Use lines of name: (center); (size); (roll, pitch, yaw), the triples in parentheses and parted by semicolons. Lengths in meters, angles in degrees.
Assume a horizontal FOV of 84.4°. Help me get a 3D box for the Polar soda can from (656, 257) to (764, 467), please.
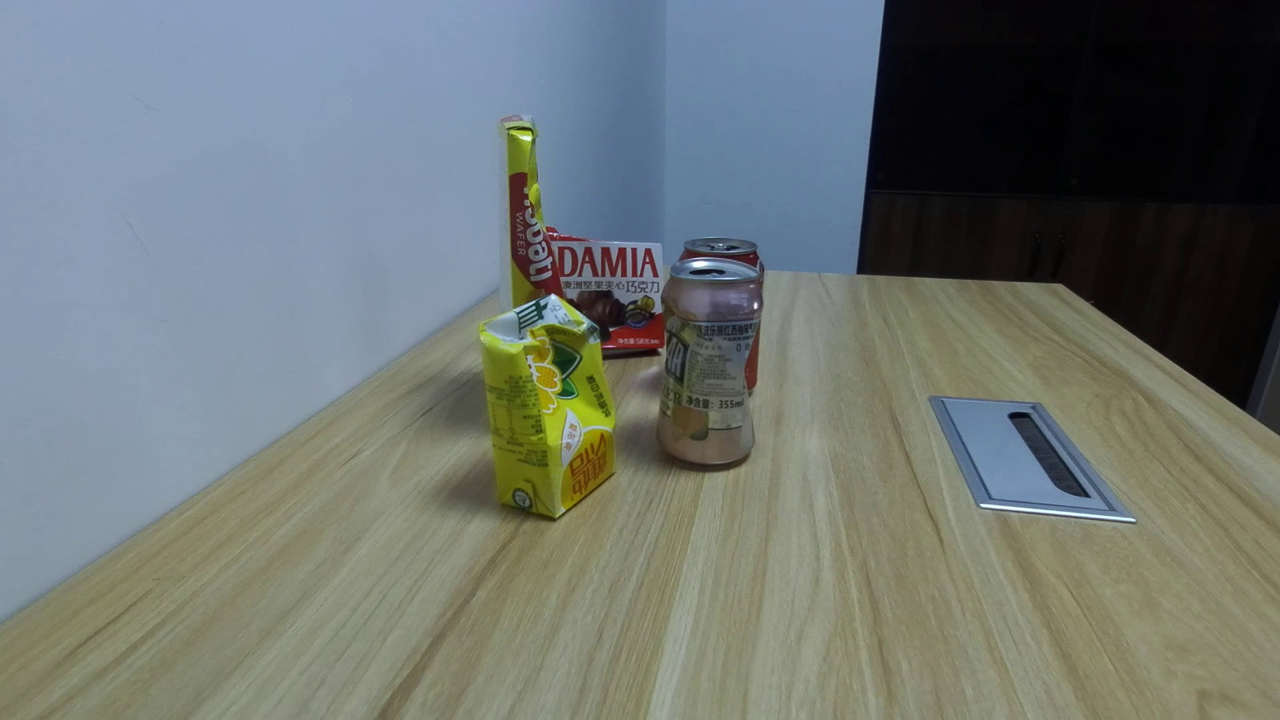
Polar soda can: (0.045, 0.001, 0.448); (0.067, 0.122, 0.074); (12, 24, 29)

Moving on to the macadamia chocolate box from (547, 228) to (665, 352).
macadamia chocolate box: (-0.040, -0.061, 0.623); (0.126, 0.112, 0.056); (-3, 22, -7)

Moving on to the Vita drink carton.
Vita drink carton: (-0.049, 0.025, 0.402); (0.046, 0.110, 0.071); (9, 23, 29)

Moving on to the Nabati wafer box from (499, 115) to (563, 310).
Nabati wafer box: (-0.072, -0.062, 0.489); (0.043, 0.205, 0.113); (-6, 26, -15)

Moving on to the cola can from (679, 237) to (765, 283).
cola can: (0.059, -0.033, 0.541); (0.068, 0.120, 0.068); (0, 20, 0)
